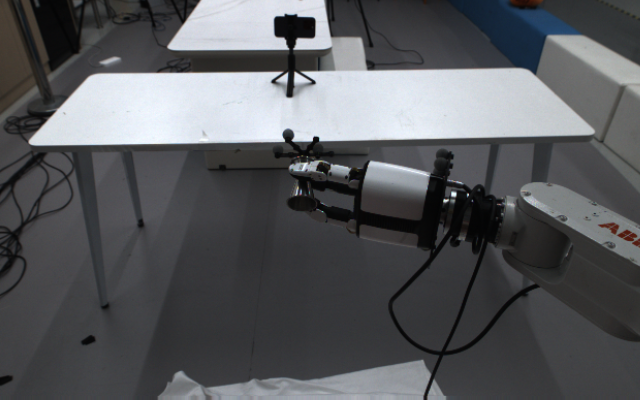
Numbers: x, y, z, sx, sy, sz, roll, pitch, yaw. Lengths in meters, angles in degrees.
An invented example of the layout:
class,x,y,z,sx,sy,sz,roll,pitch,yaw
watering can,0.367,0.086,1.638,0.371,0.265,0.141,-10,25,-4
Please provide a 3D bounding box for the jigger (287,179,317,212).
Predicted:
class,x,y,z,sx,sy,sz,roll,pitch,yaw
jigger,-0.024,-0.027,0.685,0.043,0.043,0.071,2,59,-1
